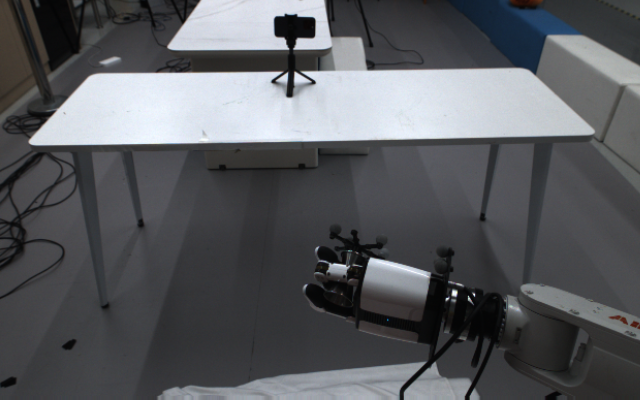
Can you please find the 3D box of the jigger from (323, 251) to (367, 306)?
[{"bbox_3d":[0.040,0.108,0.673,0.043,0.043,0.071,13,57,15],"label":"jigger"}]
